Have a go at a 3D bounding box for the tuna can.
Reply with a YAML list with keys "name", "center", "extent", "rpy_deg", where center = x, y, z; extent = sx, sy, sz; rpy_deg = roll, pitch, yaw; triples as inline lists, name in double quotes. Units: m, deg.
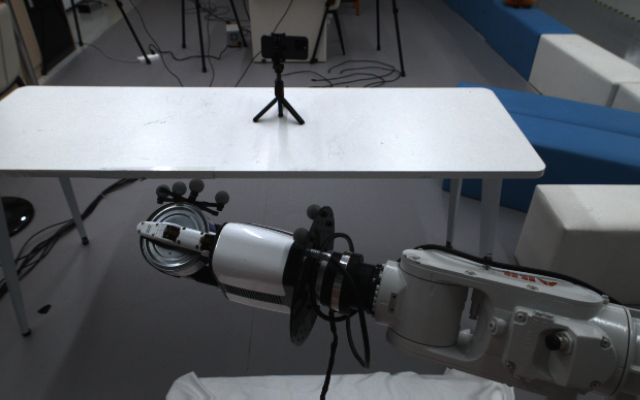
- name: "tuna can"
  center: [-0.168, 0.047, 0.583]
  extent: [0.085, 0.034, 0.085]
  rpy_deg: [-3, 68, 8]
